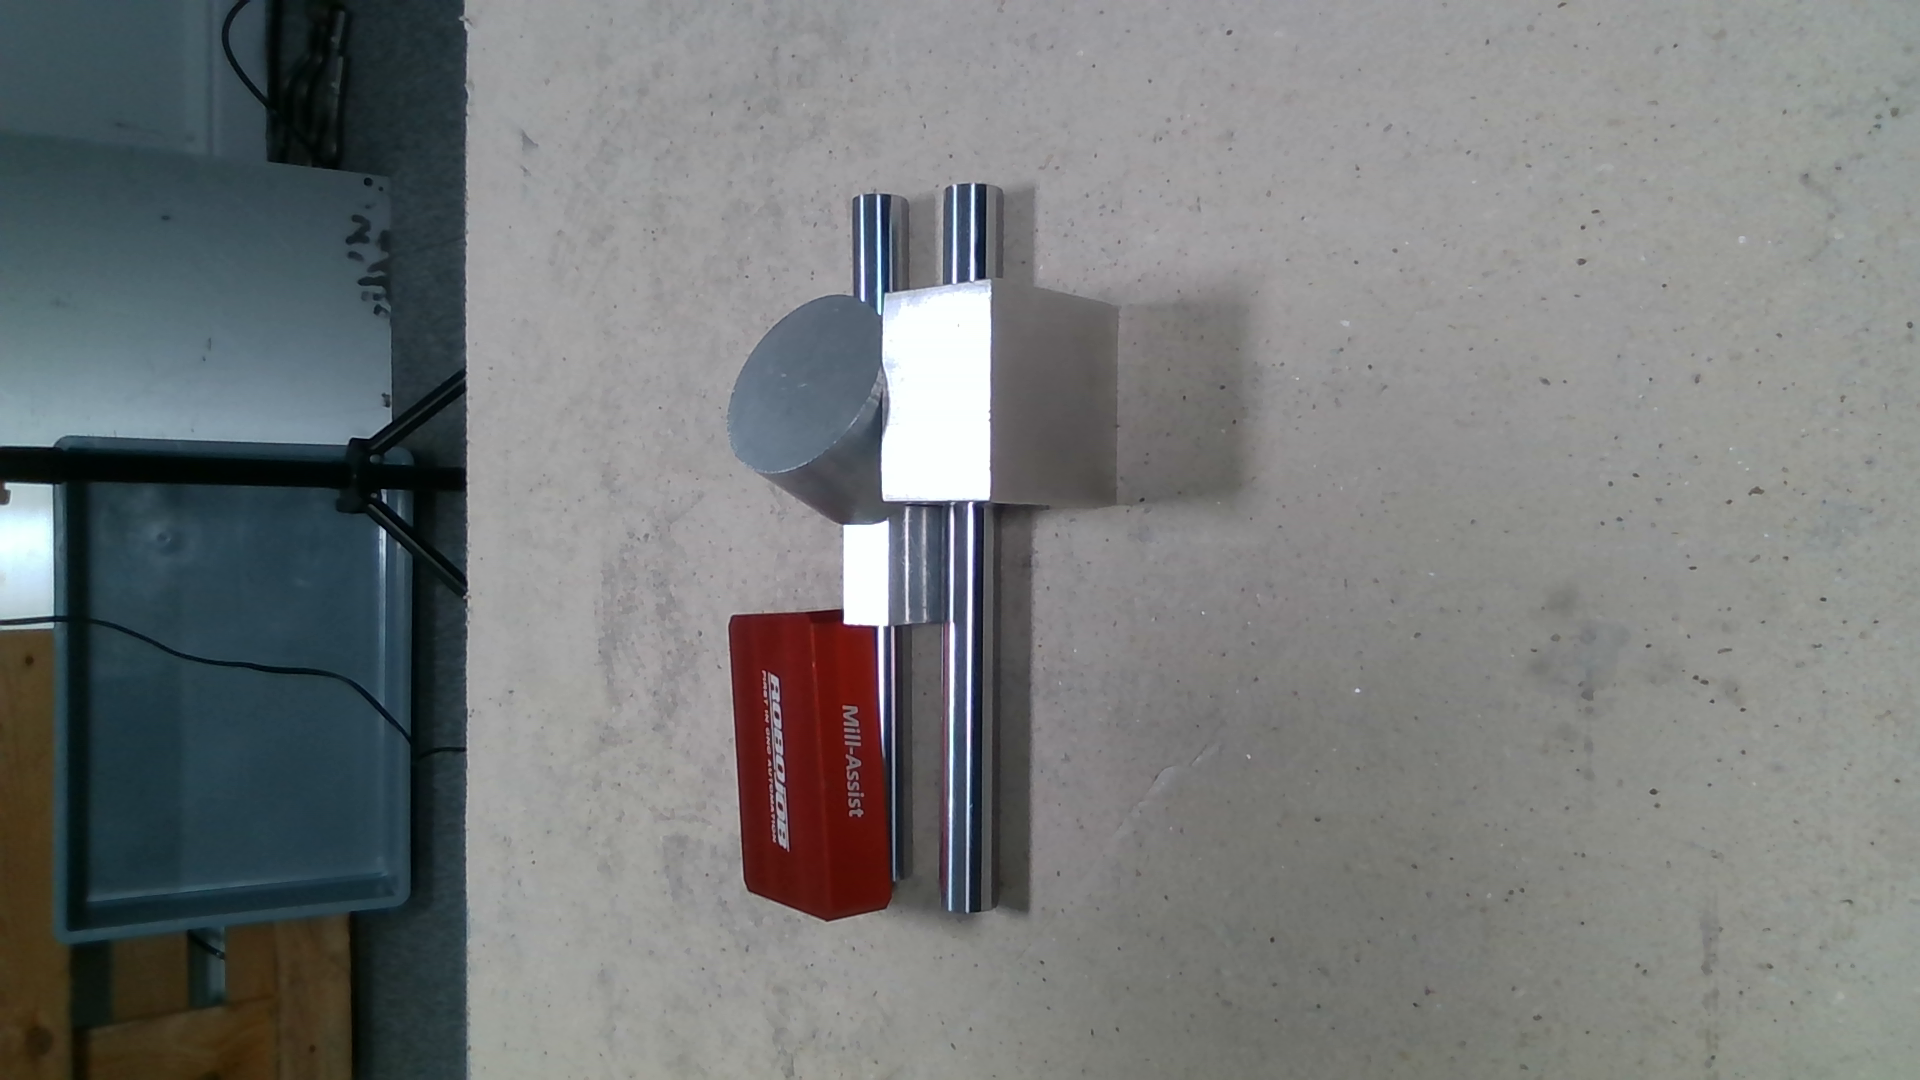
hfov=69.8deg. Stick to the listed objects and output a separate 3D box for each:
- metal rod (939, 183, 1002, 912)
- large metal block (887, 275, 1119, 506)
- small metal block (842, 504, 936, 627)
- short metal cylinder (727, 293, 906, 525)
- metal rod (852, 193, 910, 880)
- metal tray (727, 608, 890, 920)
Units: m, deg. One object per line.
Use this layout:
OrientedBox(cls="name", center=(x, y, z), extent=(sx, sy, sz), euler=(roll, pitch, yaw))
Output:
OrientedBox(cls="metal rod", center=(0.004, 0.004, 0.579), extent=(0.025, 0.025, 0.300), euler=(1, 91, 40))
OrientedBox(cls="large metal block", center=(0.018, -0.054, 0.531), extent=(0.050, 0.080, 0.080), euler=(1, 91, 40))
OrientedBox(cls="small metal block", center=(-0.023, 0.010, 0.585), extent=(0.025, 0.050, 0.050), euler=(1, 91, 40))
OrientedBox(cls="short metal cylinder", center=(-0.048, -0.052, 0.559), extent=(0.080, 0.050, 0.080), euler=(-19, 56, 30))
OrientedBox(cls="metal rod", center=(-0.035, -0.001, 0.612), extent=(0.025, 0.025, 0.300), euler=(0, 90, 40))
OrientedBox(cls="metal tray", center=(-0.070, 0.097, 0.621), extent=(0.090, 0.030, 0.130), euler=(-6, 88, 58))
